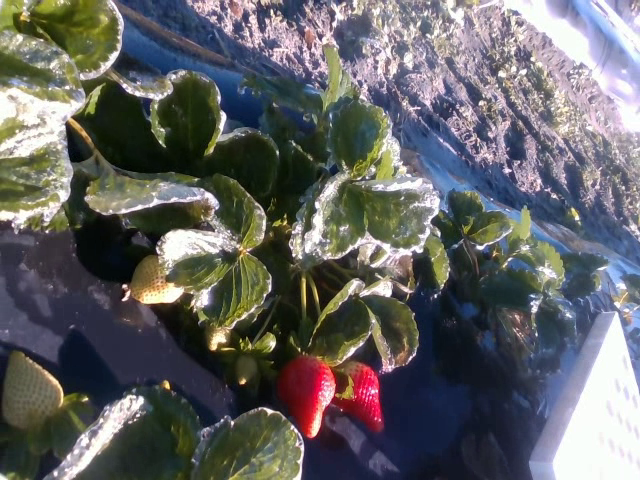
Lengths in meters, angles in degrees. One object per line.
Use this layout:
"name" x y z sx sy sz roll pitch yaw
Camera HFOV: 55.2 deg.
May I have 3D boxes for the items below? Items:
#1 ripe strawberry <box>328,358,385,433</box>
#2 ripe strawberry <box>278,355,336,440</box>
"ripe strawberry" 0.038 0.127 0.491 0.040 0.059 0.043 -18 7 42
"ripe strawberry" -0.005 0.123 0.458 0.040 0.070 0.052 -14 -36 31
